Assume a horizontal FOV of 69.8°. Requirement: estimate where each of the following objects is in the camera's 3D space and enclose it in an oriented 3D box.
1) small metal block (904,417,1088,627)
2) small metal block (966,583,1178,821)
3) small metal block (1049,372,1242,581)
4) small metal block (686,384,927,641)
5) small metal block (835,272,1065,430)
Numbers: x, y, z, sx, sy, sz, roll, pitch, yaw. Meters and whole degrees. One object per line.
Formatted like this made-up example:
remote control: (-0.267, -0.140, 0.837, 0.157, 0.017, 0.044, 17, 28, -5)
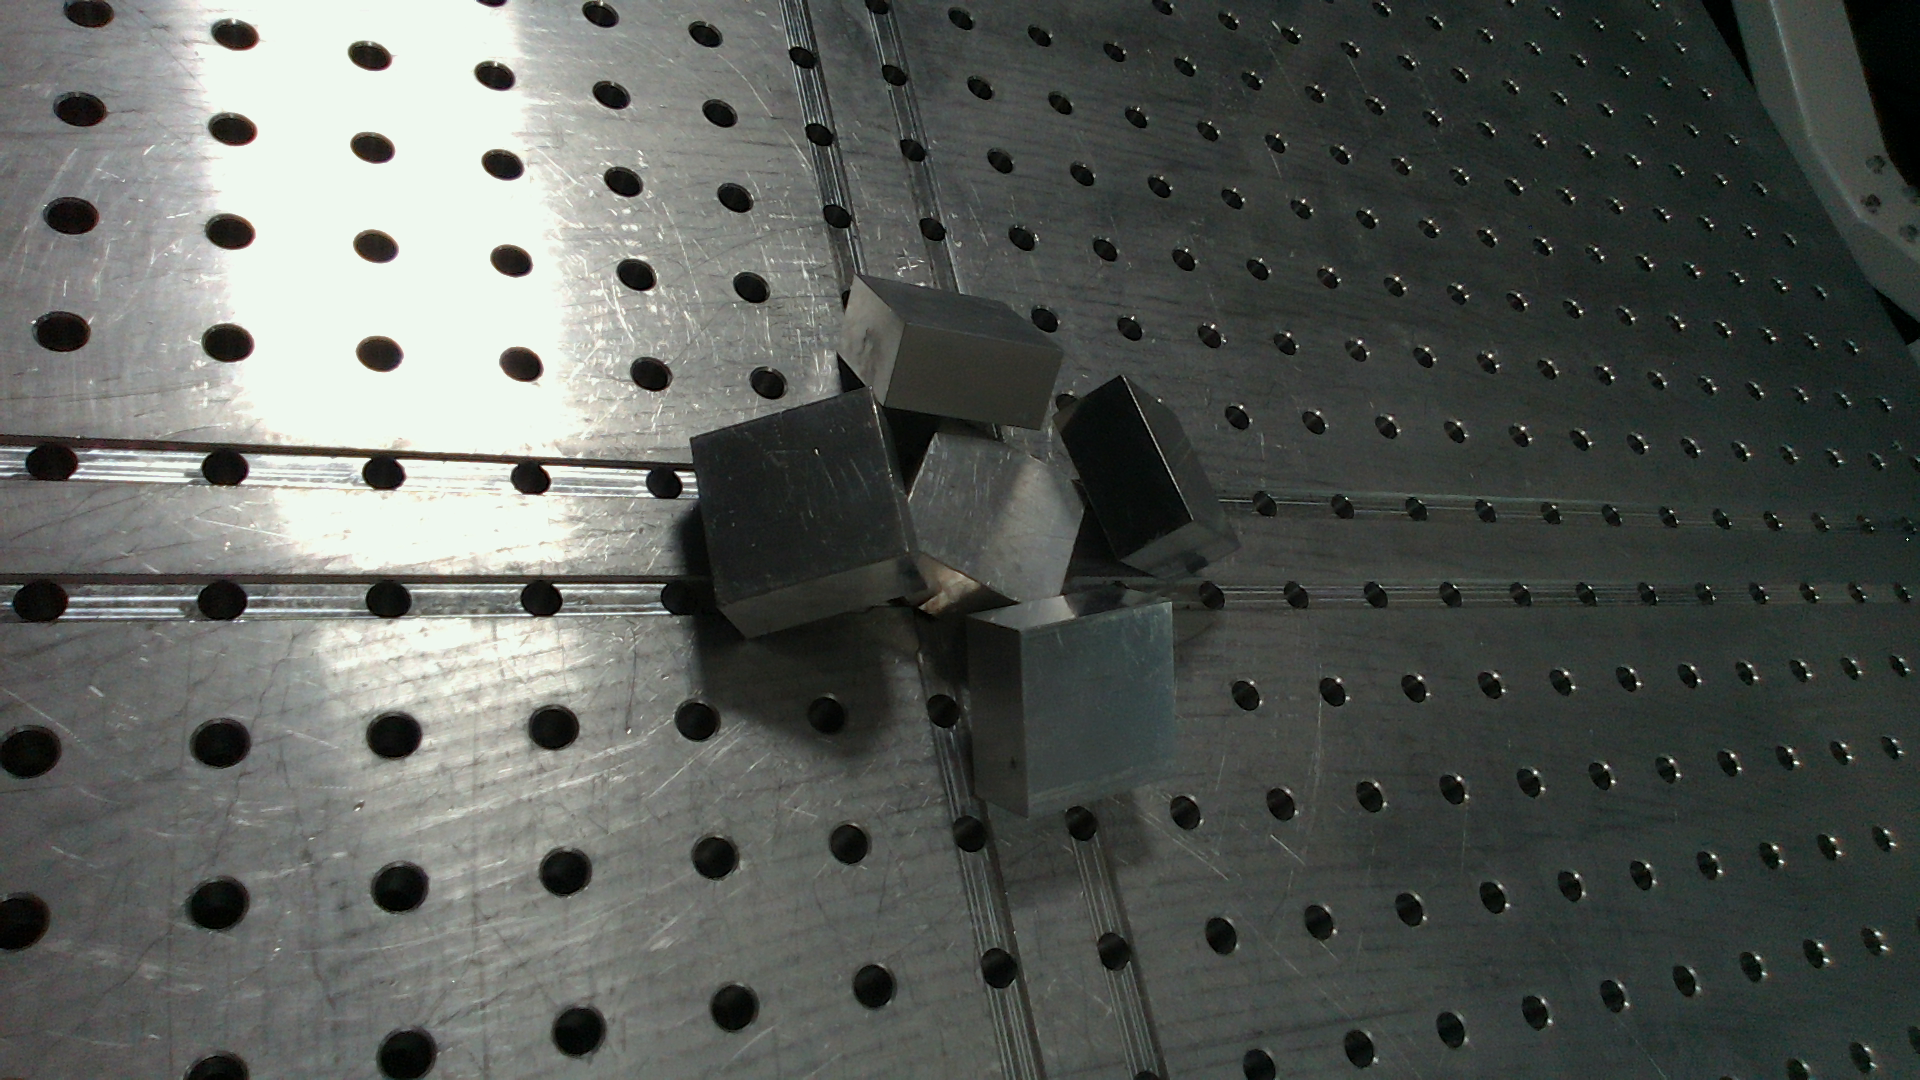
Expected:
small metal block: (0.005, -0.003, 0.397, 0.050, 0.025, 0.050, 28, 52, -11)
small metal block: (0.031, 0.042, 0.368, 0.050, 0.025, 0.050, -9, 102, -32)
small metal block: (0.057, -0.018, 0.419, 0.050, 0.025, 0.050, 19, 44, -62)
small metal block: (-0.040, -0.007, 0.360, 0.050, 0.025, 0.050, -16, 65, 3)
small metal block: (-0.004, -0.057, 0.409, 0.050, 0.025, 0.050, 6, 23, -25)
